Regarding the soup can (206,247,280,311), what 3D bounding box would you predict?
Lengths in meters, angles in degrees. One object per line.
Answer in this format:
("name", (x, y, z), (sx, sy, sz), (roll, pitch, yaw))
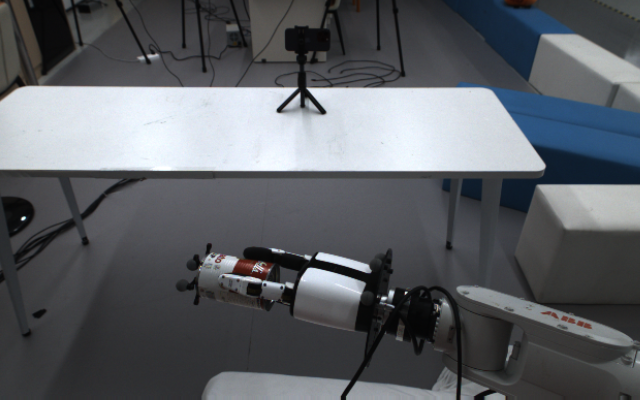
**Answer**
("soup can", (-0.113, 0.116, 0.684), (0.101, 0.067, 0.067), (8, 35, 11))
